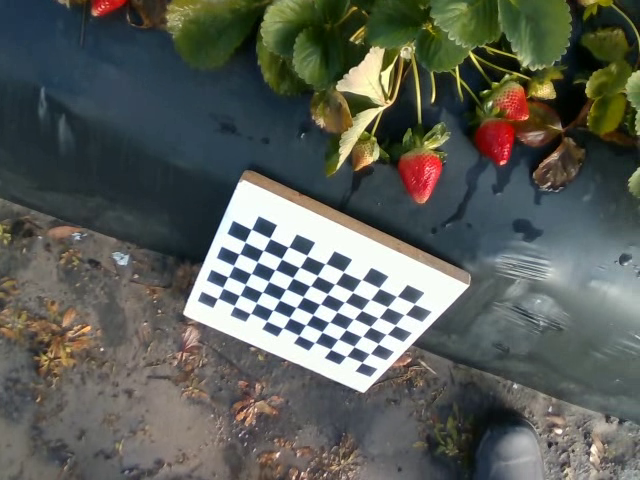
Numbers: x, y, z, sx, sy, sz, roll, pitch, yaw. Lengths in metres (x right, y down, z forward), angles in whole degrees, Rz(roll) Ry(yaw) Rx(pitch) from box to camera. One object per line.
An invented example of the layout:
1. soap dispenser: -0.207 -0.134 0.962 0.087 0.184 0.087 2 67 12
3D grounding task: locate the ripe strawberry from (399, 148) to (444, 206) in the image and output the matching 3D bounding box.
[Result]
1. ripe strawberry: 0.107 -0.068 0.650 0.050 0.065 0.049 -3 -15 21

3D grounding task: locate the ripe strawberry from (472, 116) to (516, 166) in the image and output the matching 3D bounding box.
1. ripe strawberry: 0.186 -0.101 0.653 0.044 0.055 0.041 -26 -21 34
